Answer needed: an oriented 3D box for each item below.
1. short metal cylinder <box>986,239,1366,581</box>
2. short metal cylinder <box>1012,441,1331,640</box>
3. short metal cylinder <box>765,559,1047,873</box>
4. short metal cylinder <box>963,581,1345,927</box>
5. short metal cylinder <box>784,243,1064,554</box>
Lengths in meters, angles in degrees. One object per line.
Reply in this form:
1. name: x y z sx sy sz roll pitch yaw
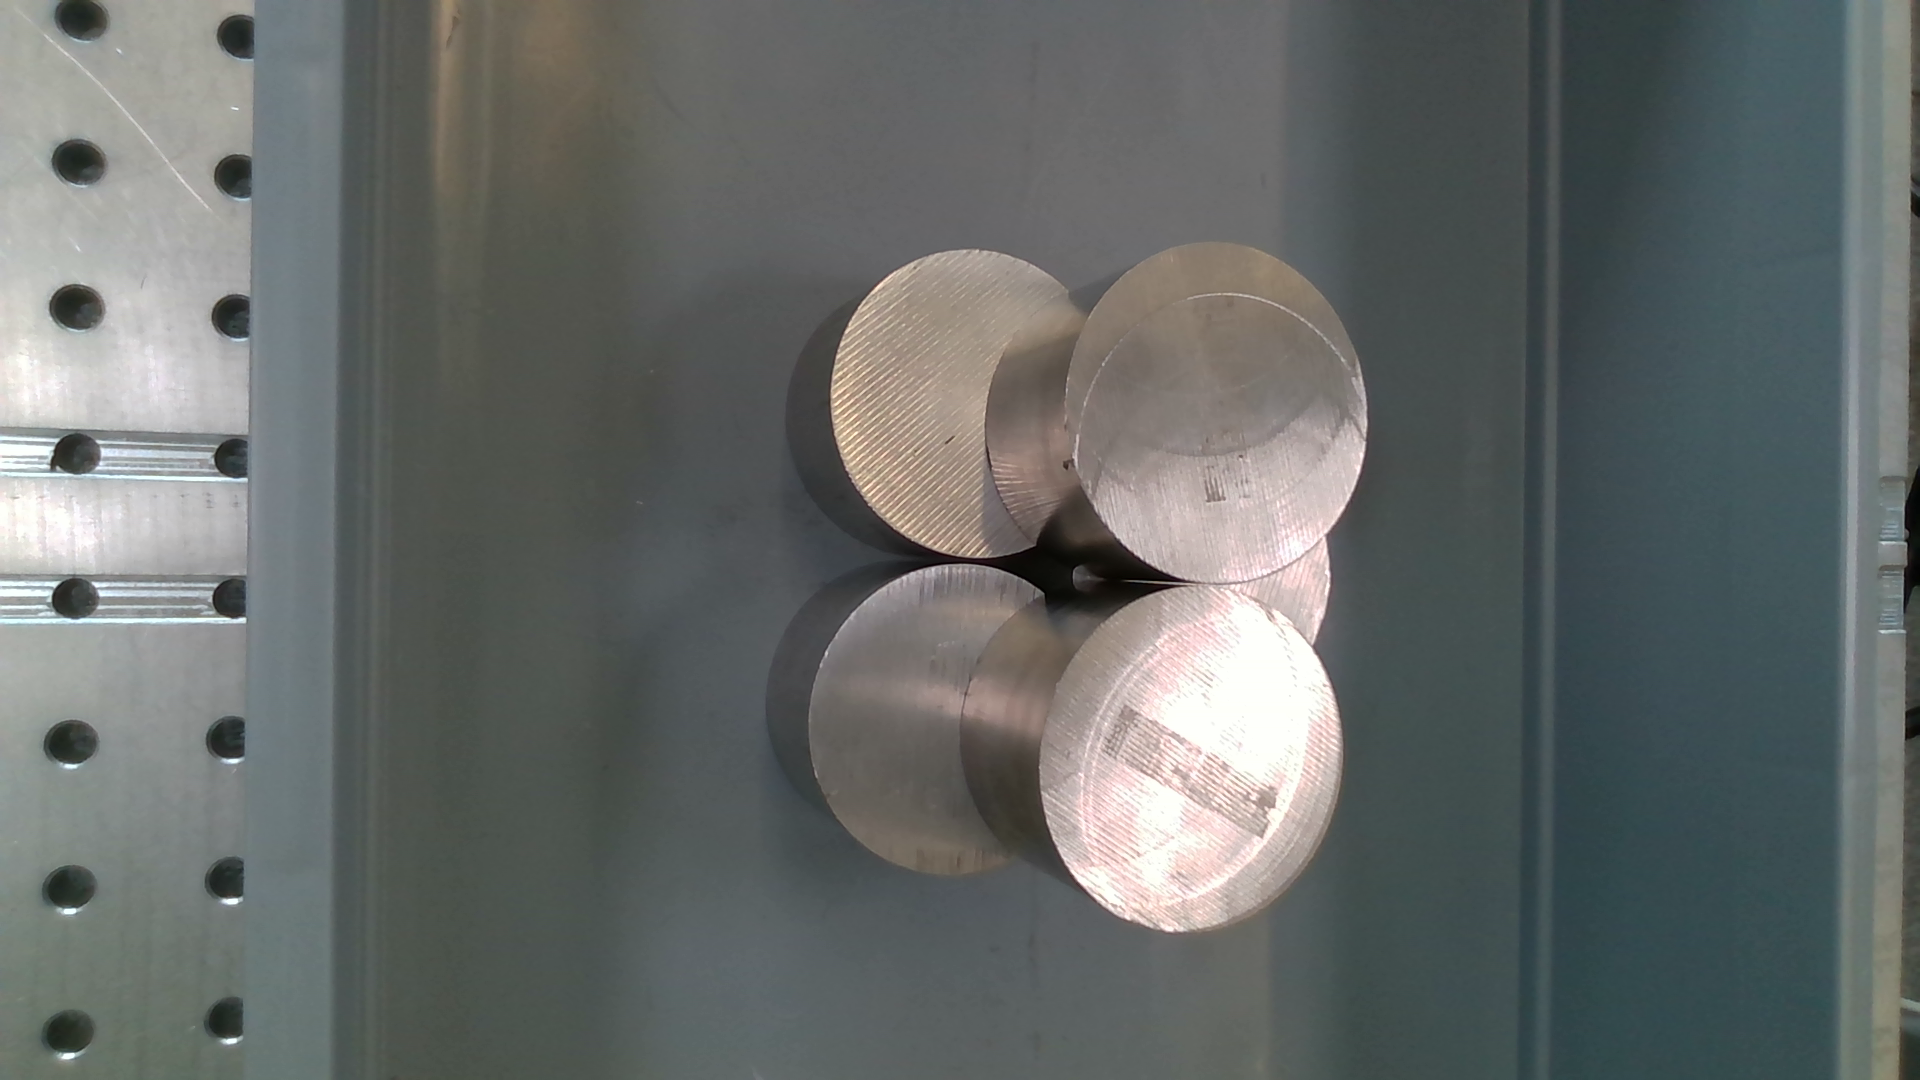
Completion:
1. short metal cylinder: 0.053 -0.030 0.346 0.080 0.050 0.080 0 90 -20
2. short metal cylinder: 0.059 0.008 0.402 0.080 0.050 0.080 0 90 -20
3. short metal cylinder: -0.009 0.045 0.376 0.080 0.050 0.080 0 90 -20
4. short metal cylinder: 0.047 0.050 0.343 0.080 0.050 0.080 0 90 -20
5. short metal cylinder: -0.003 -0.036 0.378 0.080 0.050 0.080 0 90 -20
